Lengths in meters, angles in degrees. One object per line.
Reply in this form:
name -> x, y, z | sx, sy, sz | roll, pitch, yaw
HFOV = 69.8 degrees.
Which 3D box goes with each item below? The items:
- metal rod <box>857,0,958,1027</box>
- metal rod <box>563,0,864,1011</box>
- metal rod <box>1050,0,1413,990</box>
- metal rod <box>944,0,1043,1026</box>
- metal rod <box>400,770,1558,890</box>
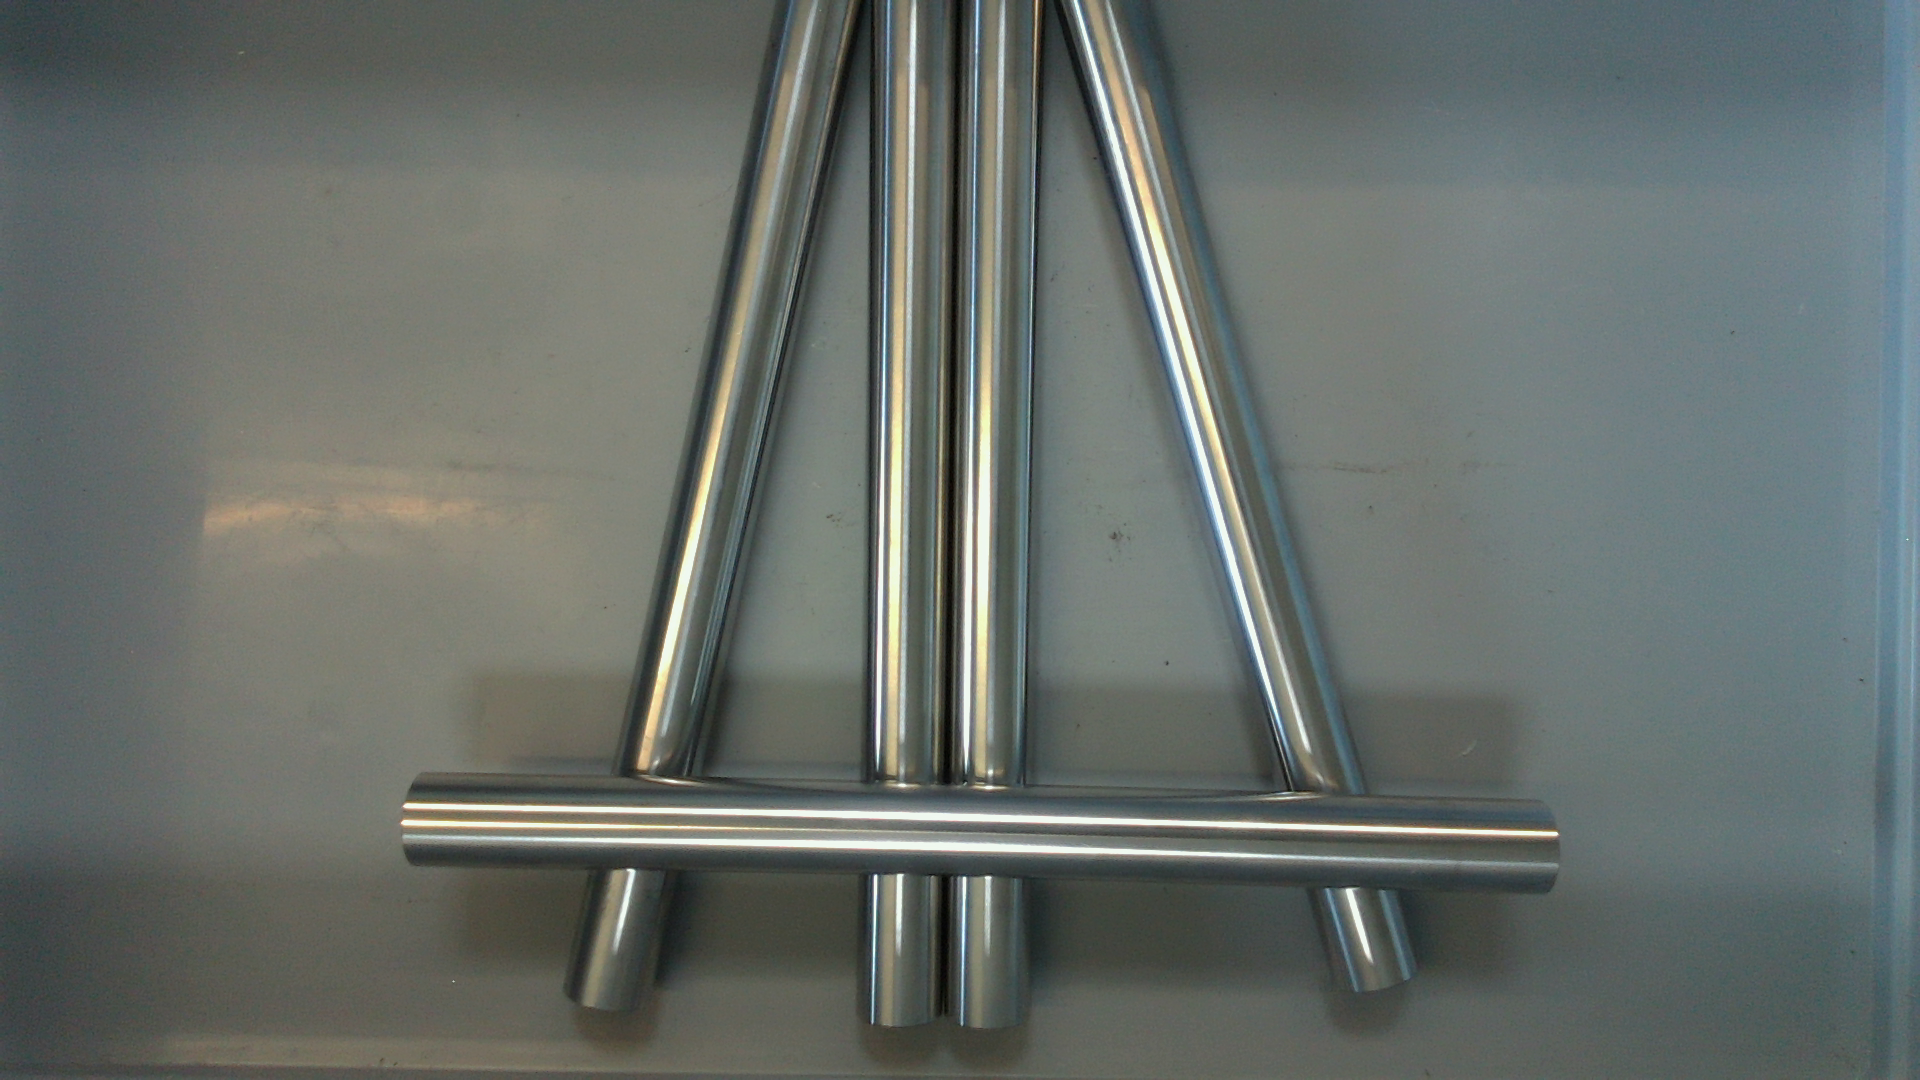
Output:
metal rod -> -0.015, -0.015, 0.394 | 0.025, 0.025, 0.300 | 1, 90, 0
metal rod -> -0.070, -0.017, 0.394 | 0.025, 0.025, 0.300 | 12, 90, 0
metal rod -> 0.077, -0.020, 0.395 | 0.025, 0.025, 0.300 | -16, 90, 0
metal rod -> 0.009, -0.015, 0.395 | 0.025, 0.025, 0.300 | 1, 90, 0
metal rod -> 0.005, 0.078, 0.369 | 0.300, 0.025, 0.025 | 1, 90, 0
